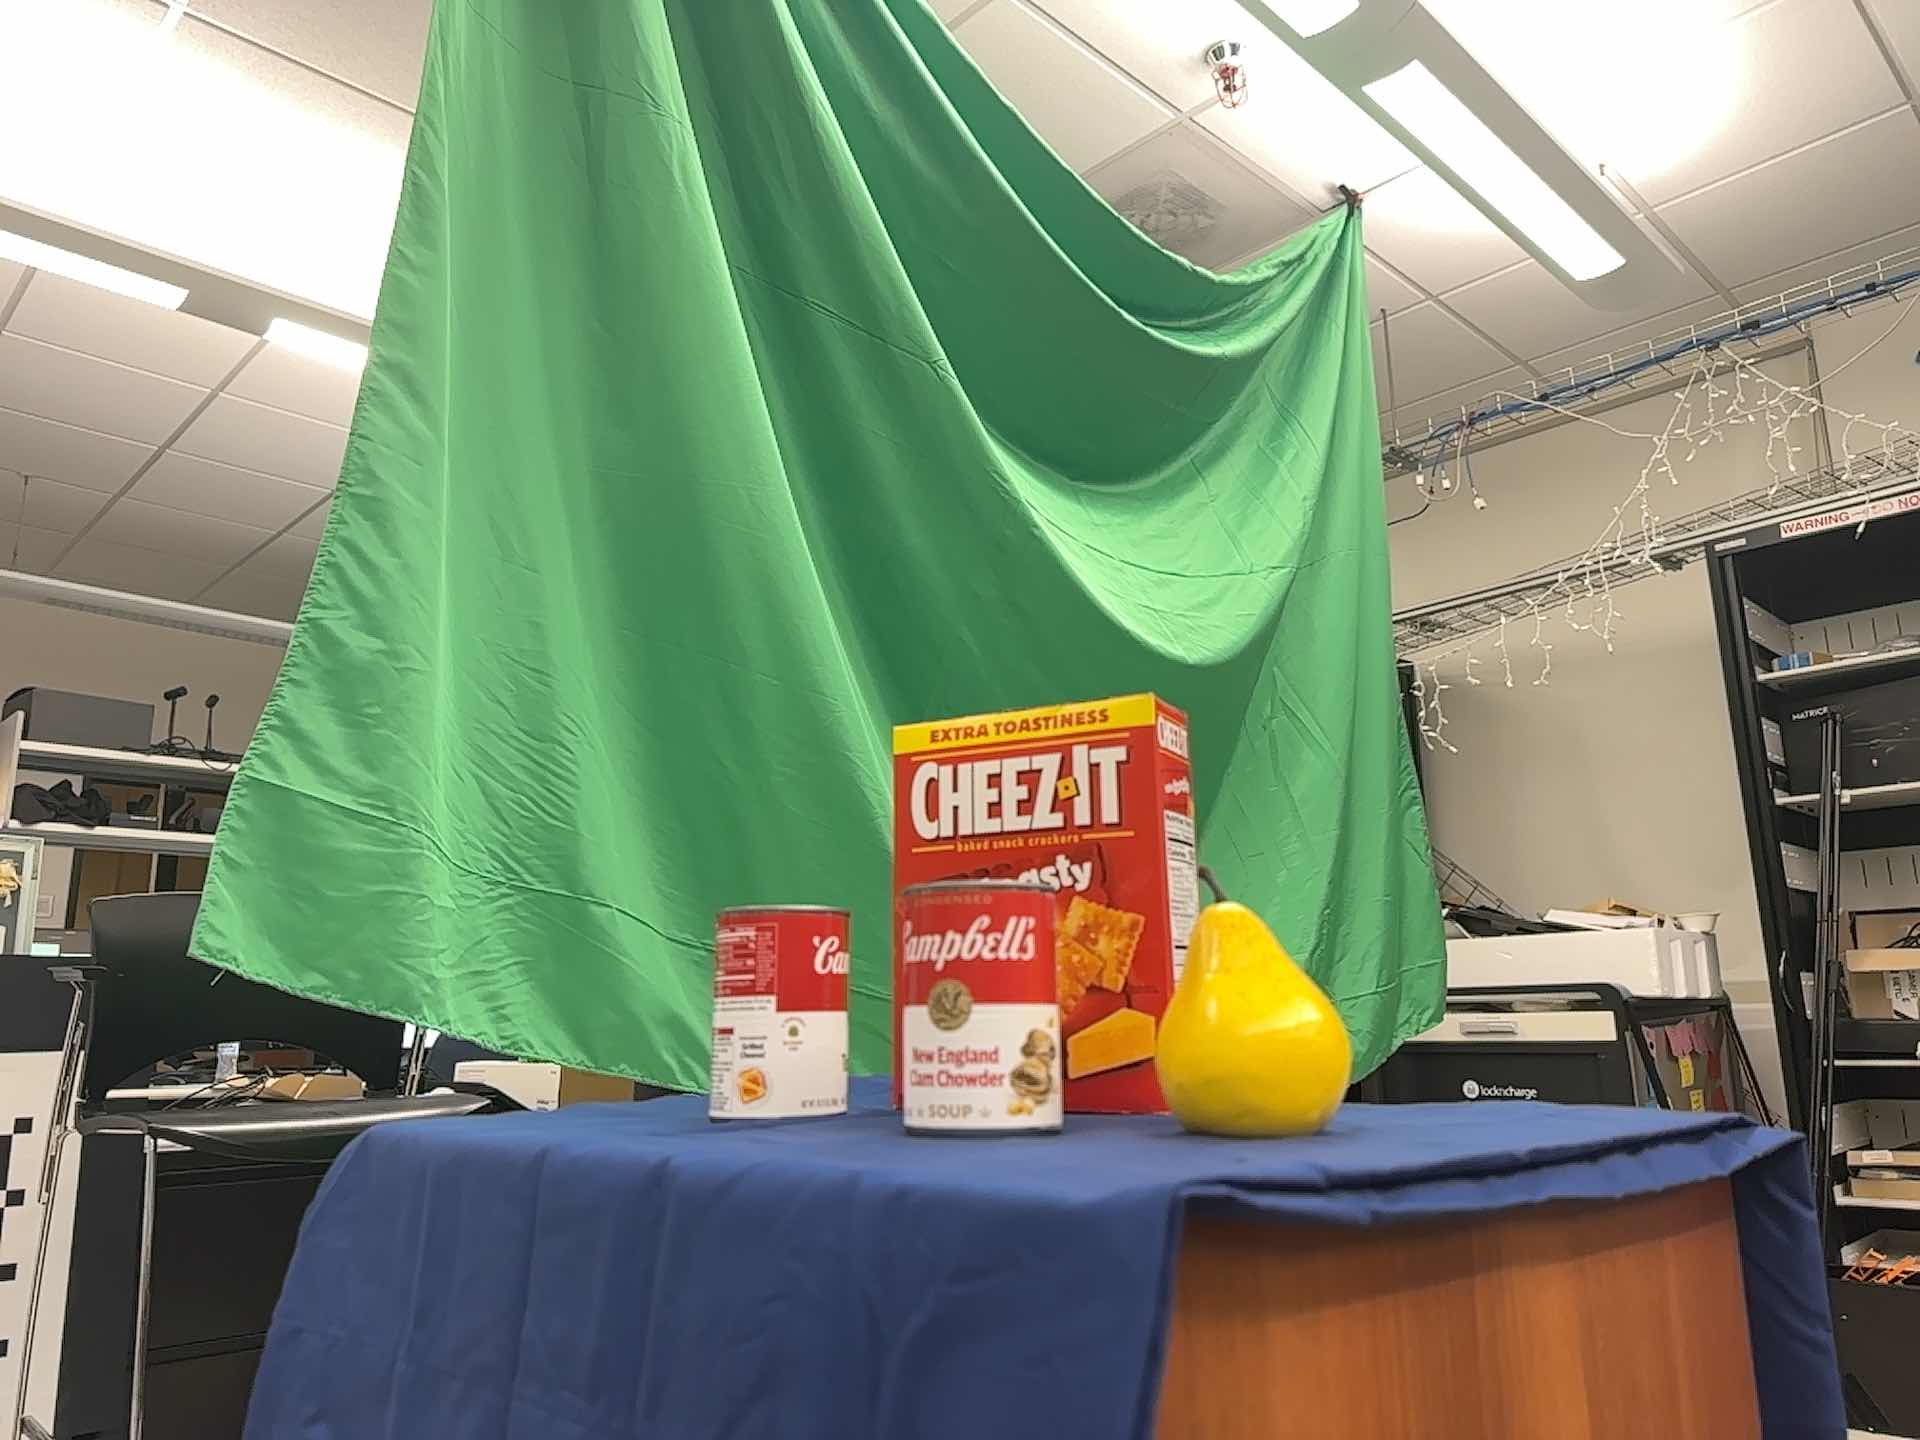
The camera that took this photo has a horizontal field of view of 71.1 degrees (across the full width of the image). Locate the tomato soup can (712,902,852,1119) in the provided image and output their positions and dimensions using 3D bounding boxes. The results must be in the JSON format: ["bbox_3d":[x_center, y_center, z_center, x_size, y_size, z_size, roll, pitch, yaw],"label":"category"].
[{"bbox_3d":[-0.088,0.144,0.669,0.067,0.102,0.067,0,-13,0],"label":"tomato soup can"}]

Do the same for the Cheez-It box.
[{"bbox_3d":[0.050,0.106,0.753,0.159,0.214,0.062,-7,-13,27],"label":"Cheez-It box"}]

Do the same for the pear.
[{"bbox_3d":[0.118,0.115,0.546,0.080,0.111,0.080,0,-10,0],"label":"pear"}]

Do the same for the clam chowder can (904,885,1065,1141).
[{"bbox_3d":[0.010,0.125,0.578,0.068,0.102,0.068,-1,-12,0],"label":"clam chowder can"}]
